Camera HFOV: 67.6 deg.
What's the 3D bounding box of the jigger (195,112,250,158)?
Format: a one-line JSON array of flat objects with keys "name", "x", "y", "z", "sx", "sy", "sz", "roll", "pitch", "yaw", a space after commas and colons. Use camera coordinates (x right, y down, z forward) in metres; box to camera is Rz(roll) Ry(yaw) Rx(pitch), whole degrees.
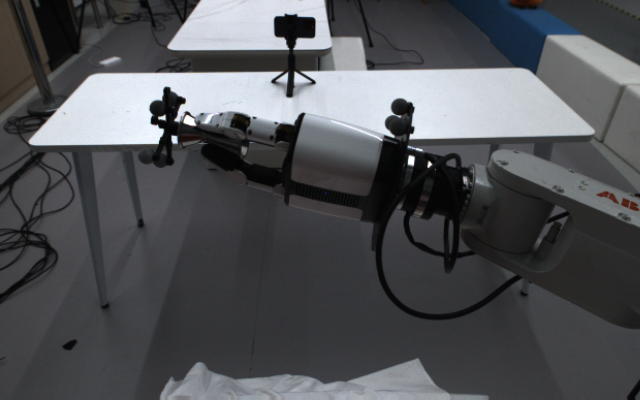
[{"name": "jigger", "x": -0.106, "y": -0.072, "z": 0.520, "sx": 0.071, "sy": 0.043, "sz": 0.043, "roll": 9, "pitch": 35, "yaw": 2}]
